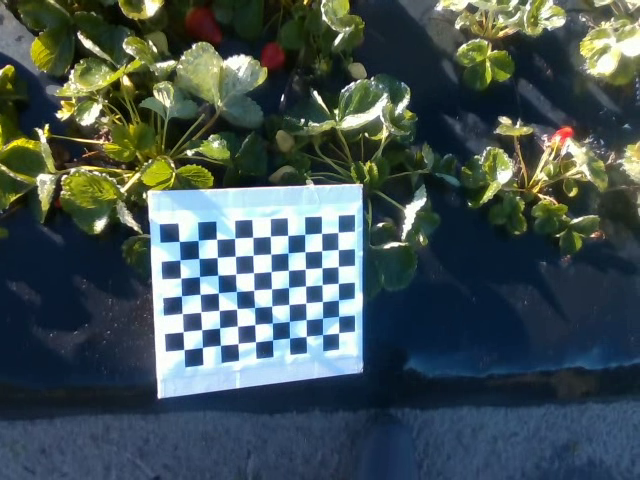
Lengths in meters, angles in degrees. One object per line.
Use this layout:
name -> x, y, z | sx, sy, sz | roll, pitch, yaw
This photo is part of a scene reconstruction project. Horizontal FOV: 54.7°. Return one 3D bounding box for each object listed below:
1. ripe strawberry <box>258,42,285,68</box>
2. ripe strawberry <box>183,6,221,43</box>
ripe strawberry -> -0.066, -0.243, 0.822 | 0.039, 0.047, 0.040 | 37, -21, -17
ripe strawberry -> -0.151, -0.281, 0.805 | 0.044, 0.056, 0.040 | -45, 15, -13
